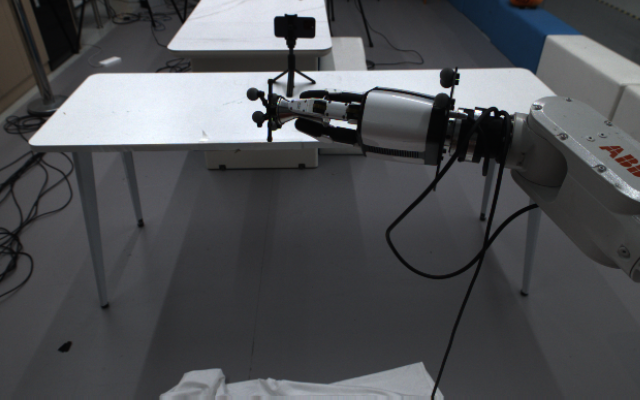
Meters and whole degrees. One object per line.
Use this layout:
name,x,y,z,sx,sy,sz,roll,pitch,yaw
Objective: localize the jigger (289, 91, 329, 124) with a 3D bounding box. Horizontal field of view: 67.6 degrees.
jigger,-0.015,-0.129,0.680,0.071,0.043,0.043,3,34,17
